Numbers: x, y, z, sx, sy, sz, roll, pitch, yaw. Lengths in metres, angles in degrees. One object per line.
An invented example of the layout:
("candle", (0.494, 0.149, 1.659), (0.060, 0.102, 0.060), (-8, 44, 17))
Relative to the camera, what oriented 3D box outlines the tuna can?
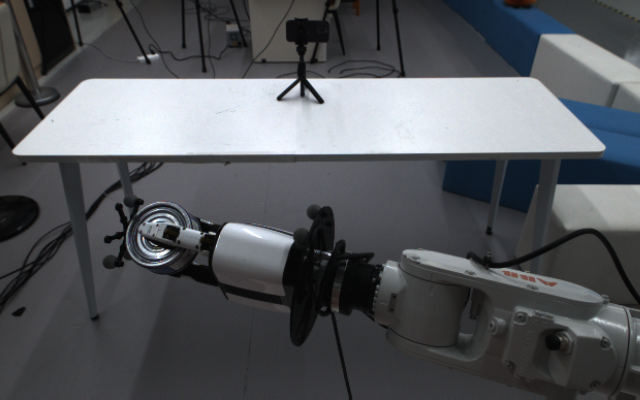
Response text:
("tuna can", (-0.187, 0.045, 0.589), (0.085, 0.034, 0.085), (-3, 69, 7))
